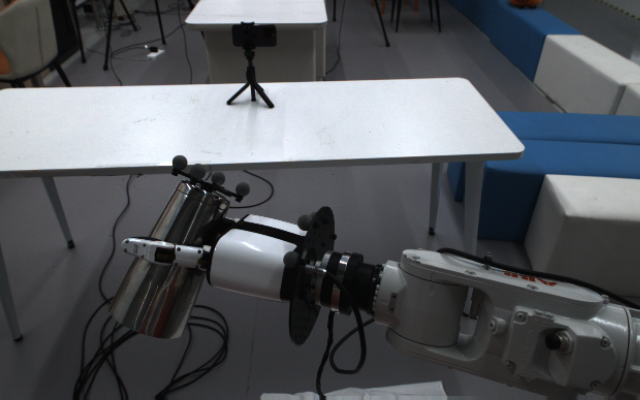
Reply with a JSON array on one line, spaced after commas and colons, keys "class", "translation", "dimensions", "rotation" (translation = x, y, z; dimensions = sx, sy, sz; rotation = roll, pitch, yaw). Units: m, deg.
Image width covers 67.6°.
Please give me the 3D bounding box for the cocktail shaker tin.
[{"class": "cocktail shaker tin", "translation": [-0.170, 0.064, 0.579], "dimensions": [0.093, 0.170, 0.093], "rotation": [23, 0, 0]}]
